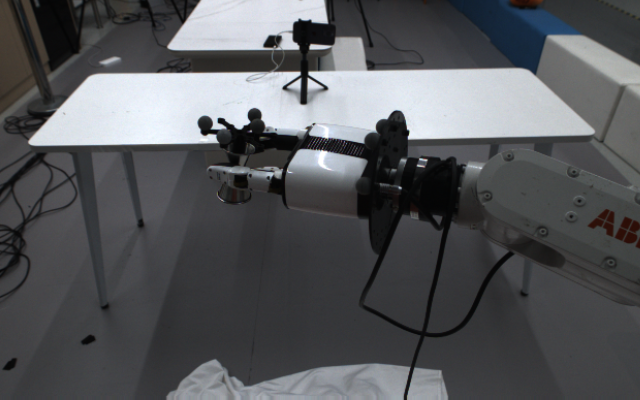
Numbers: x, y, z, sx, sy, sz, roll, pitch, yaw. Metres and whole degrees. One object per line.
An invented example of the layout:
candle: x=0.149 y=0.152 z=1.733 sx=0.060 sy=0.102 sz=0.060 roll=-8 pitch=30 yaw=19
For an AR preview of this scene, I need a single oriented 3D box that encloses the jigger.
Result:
jigger: x=-0.102 y=-0.034 z=0.594 sx=0.043 sy=0.071 sz=0.043 roll=9 pitch=30 yaw=-5
